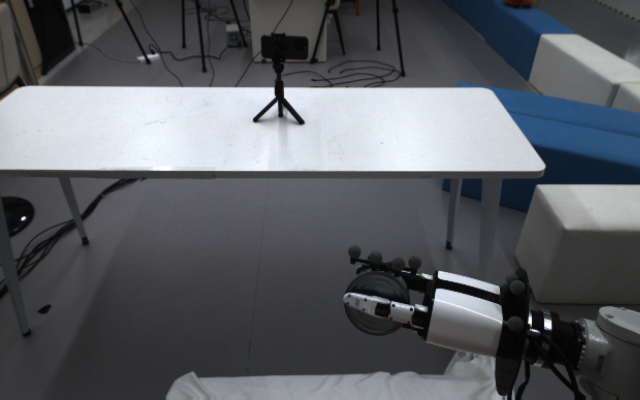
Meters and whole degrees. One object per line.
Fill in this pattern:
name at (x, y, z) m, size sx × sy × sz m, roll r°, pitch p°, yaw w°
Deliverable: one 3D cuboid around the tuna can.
tuna can at (0.079, 0.129, 0.639) m, size 0.085 × 0.085 × 0.034 m, roll 11°, pitch 3°, yaw 12°
